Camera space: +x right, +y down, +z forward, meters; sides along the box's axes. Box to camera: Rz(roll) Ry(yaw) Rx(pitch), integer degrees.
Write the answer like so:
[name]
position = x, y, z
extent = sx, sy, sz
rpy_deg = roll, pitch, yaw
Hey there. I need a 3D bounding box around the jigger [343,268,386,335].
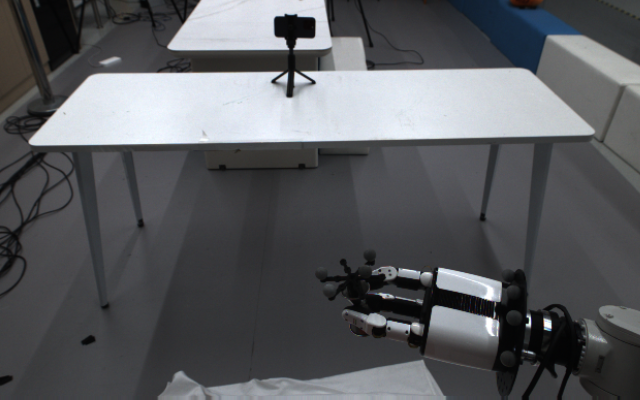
[jigger]
position = 0.056, 0.145, 0.657
extent = 0.043, 0.071, 0.043
rpy_deg = -12, 29, 7
